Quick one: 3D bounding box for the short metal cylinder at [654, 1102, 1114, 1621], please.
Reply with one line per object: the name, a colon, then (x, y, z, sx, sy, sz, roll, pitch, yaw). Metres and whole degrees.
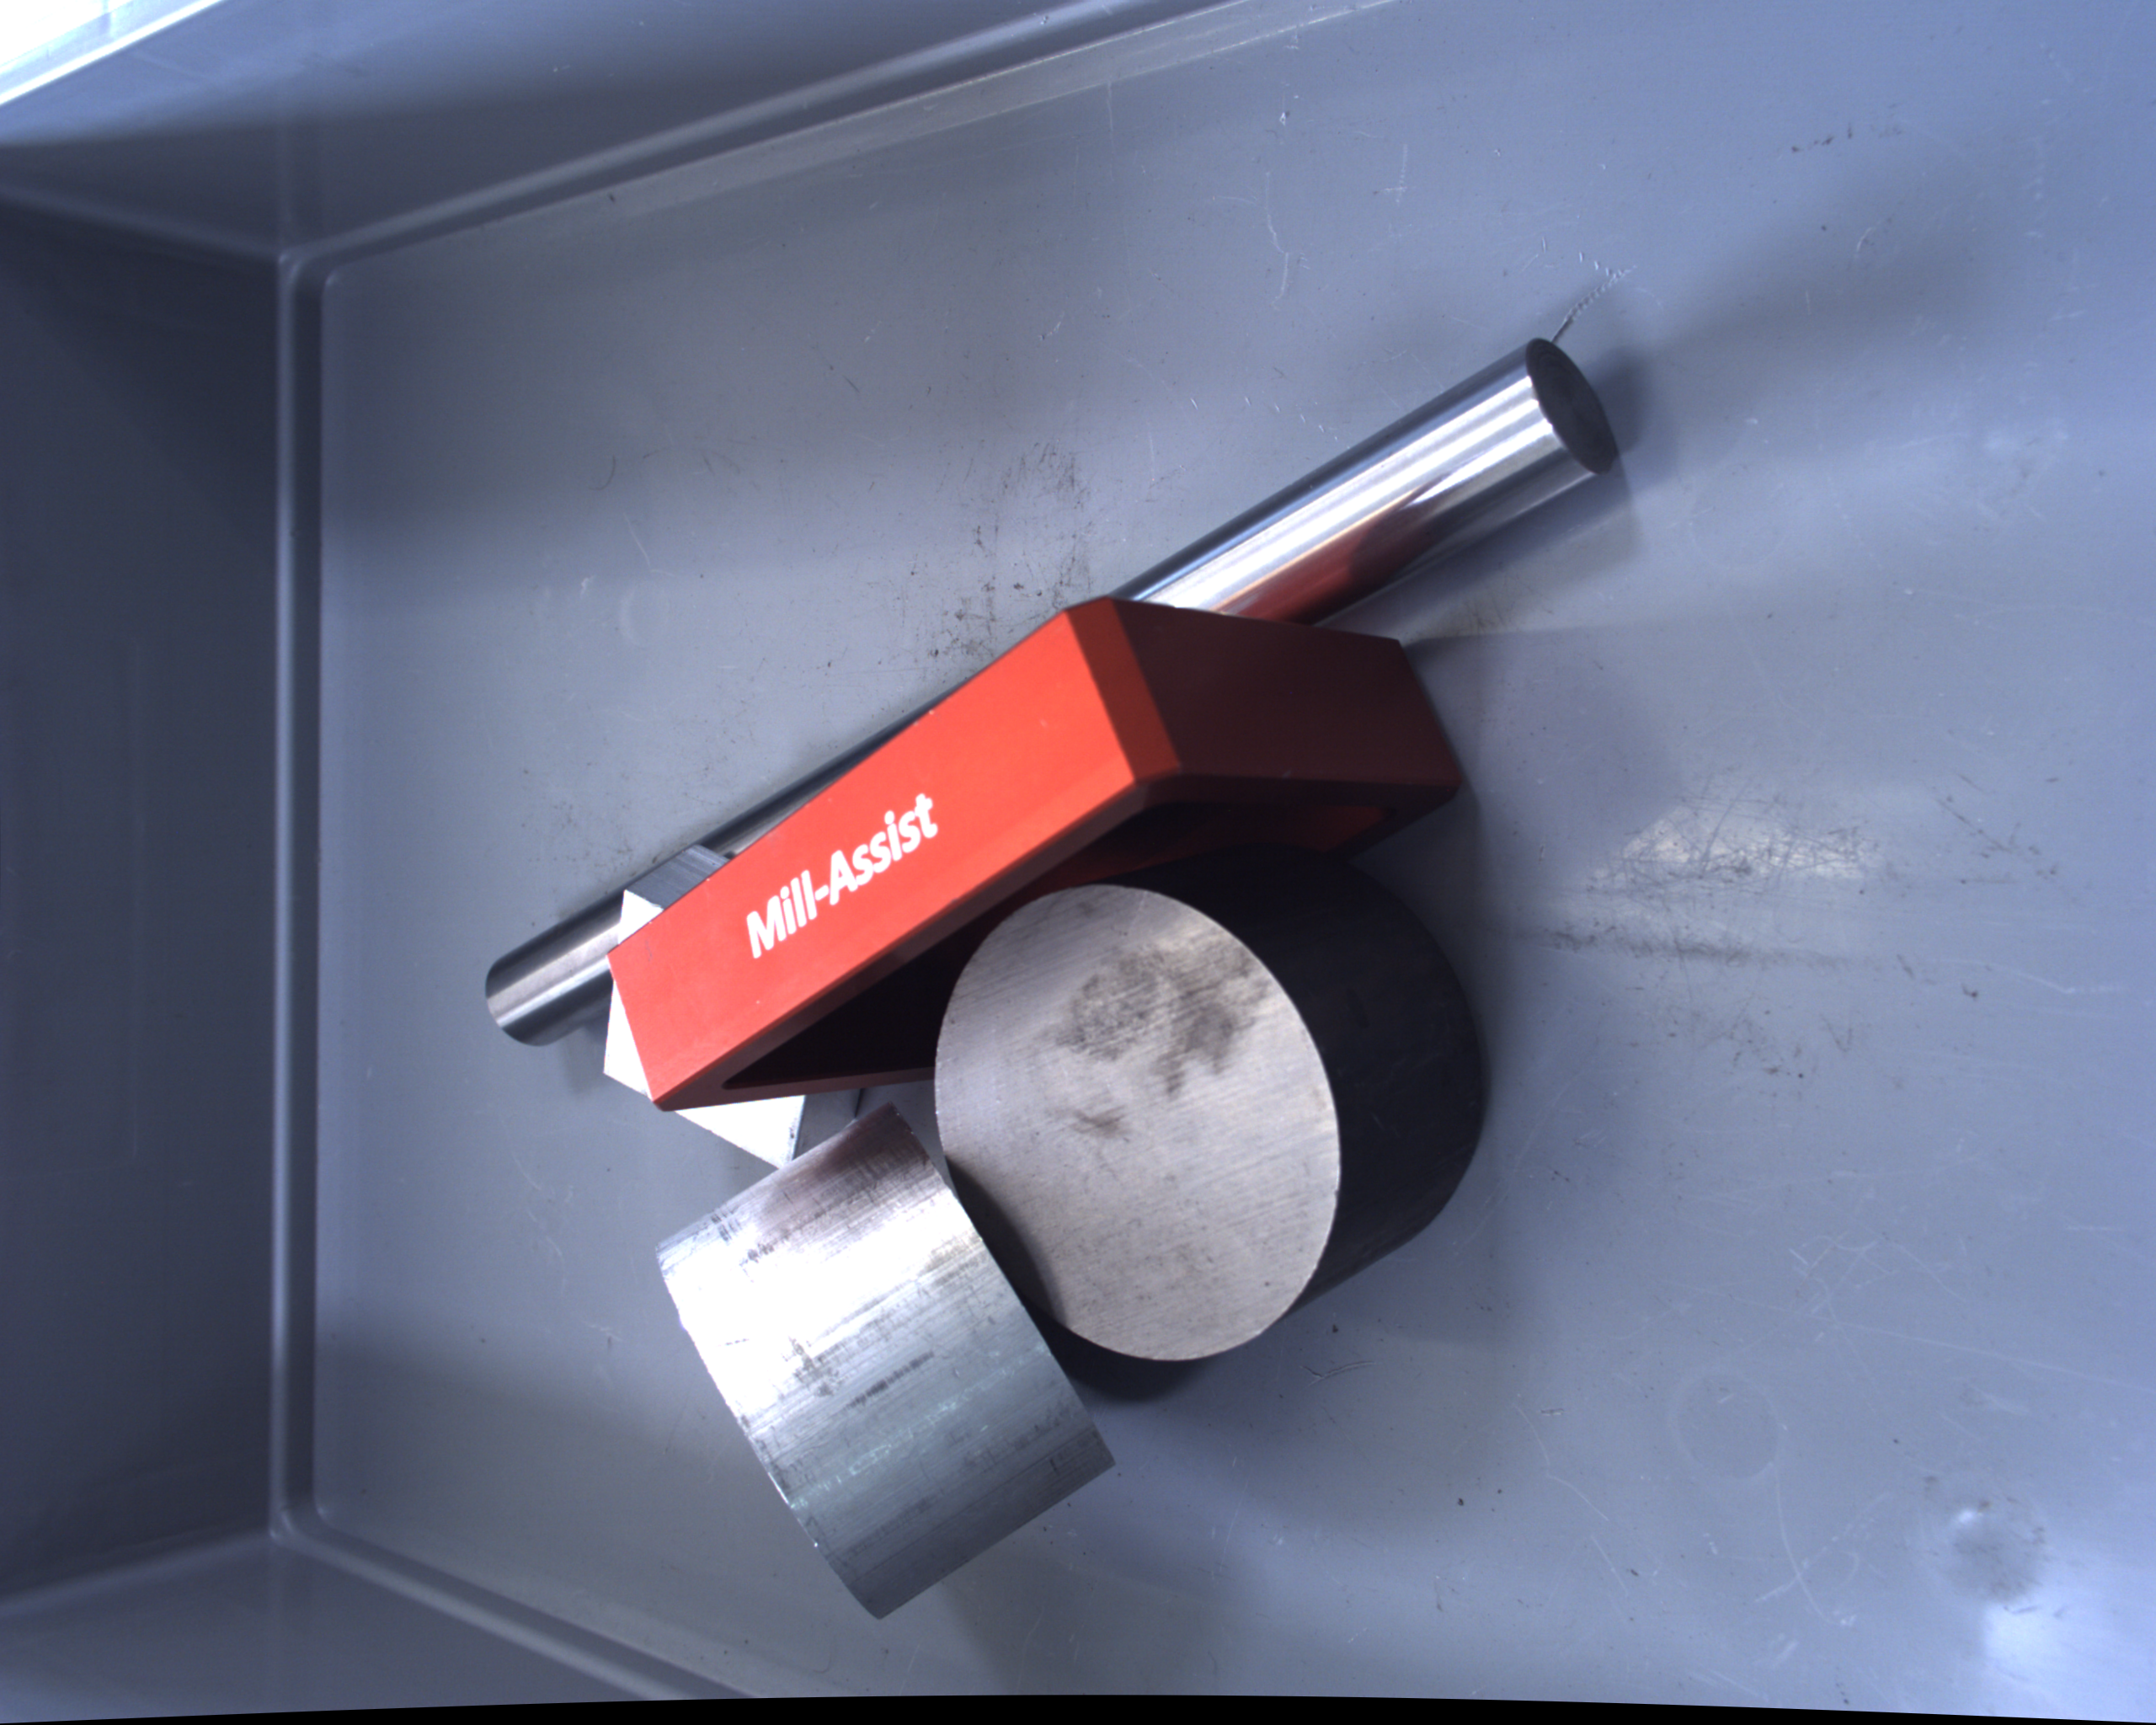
short metal cylinder: (-0.036, 0.092, 0.389, 0.050, 0.080, 0.080, -31, 64, -9)

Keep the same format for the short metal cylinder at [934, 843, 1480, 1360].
short metal cylinder: (0.022, 0.040, 0.363, 0.080, 0.050, 0.079, 7, 103, 35)

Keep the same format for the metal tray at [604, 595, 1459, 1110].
metal tray: (-0.010, 0.002, 0.370, 0.130, 0.091, 0.030, -33, 70, 35)

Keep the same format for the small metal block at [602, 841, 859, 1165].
small metal block: (-0.072, 0.031, 0.447, 0.050, 0.025, 0.050, 26, 123, 17)

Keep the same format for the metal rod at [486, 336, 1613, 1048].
metal rod: (-0.028, -0.020, 0.427, 0.299, 0.025, 0.025, -27, 73, 36)
